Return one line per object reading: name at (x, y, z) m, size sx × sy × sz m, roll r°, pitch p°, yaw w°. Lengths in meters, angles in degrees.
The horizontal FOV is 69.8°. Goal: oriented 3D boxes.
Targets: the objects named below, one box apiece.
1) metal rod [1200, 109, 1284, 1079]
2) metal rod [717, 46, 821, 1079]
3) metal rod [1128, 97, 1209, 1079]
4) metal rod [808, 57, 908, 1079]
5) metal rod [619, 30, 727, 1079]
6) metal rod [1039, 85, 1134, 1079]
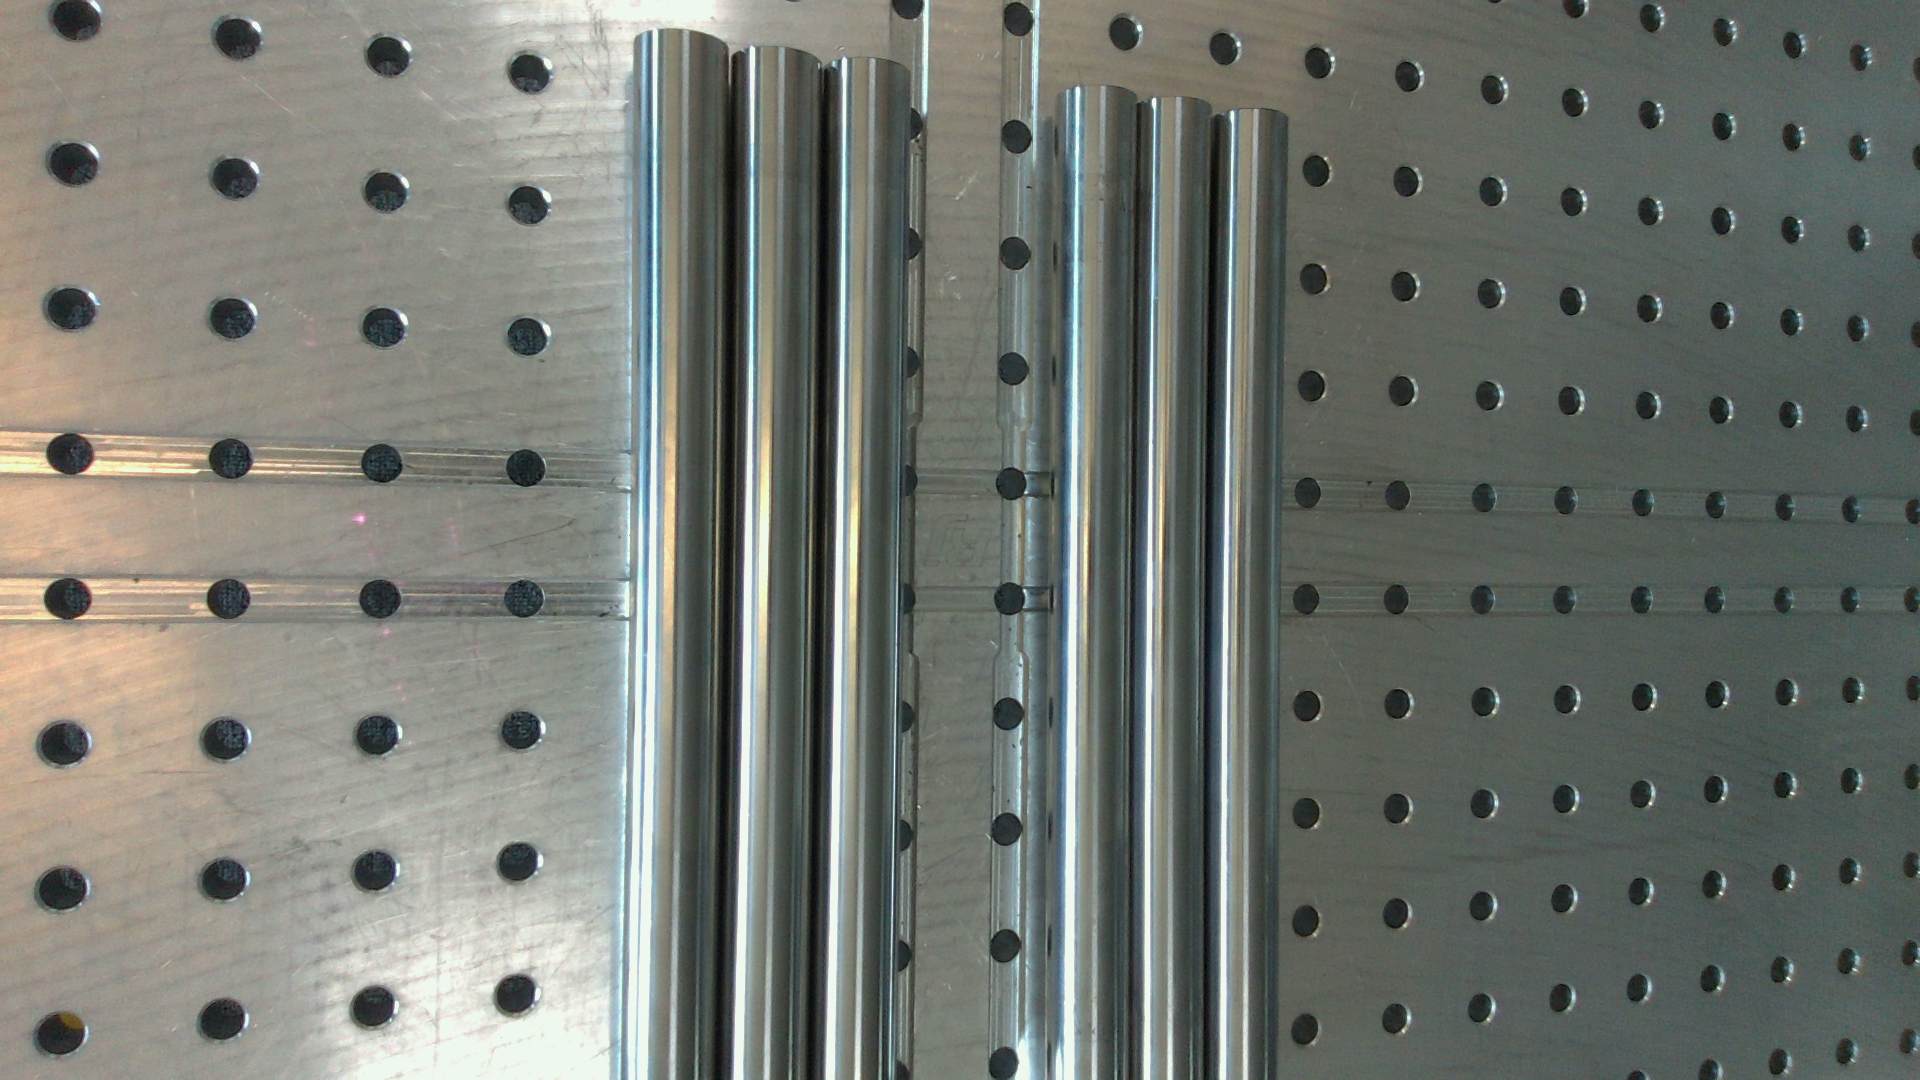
metal rod at (0.086, 0.020, 0.427) m, size 0.025 × 0.025 × 0.300 m, roll 1°, pitch 90°, yaw -20°
metal rod at (-0.052, 0.019, 0.376) m, size 0.025 × 0.025 × 0.300 m, roll 1°, pitch 90°, yaw -20°
metal rod at (0.061, 0.019, 0.418) m, size 0.025 × 0.025 × 0.300 m, roll 1°, pitch 90°, yaw -20°
metal rod at (-0.029, 0.019, 0.385) m, size 0.025 × 0.025 × 0.300 m, roll 1°, pitch 90°, yaw -20°
metal rod at (-0.077, 0.018, 0.367) m, size 0.025 × 0.025 × 0.300 m, roll 1°, pitch 90°, yaw -20°
metal rod at (0.038, 0.019, 0.409) m, size 0.025 × 0.025 × 0.300 m, roll 1°, pitch 90°, yaw -20°
